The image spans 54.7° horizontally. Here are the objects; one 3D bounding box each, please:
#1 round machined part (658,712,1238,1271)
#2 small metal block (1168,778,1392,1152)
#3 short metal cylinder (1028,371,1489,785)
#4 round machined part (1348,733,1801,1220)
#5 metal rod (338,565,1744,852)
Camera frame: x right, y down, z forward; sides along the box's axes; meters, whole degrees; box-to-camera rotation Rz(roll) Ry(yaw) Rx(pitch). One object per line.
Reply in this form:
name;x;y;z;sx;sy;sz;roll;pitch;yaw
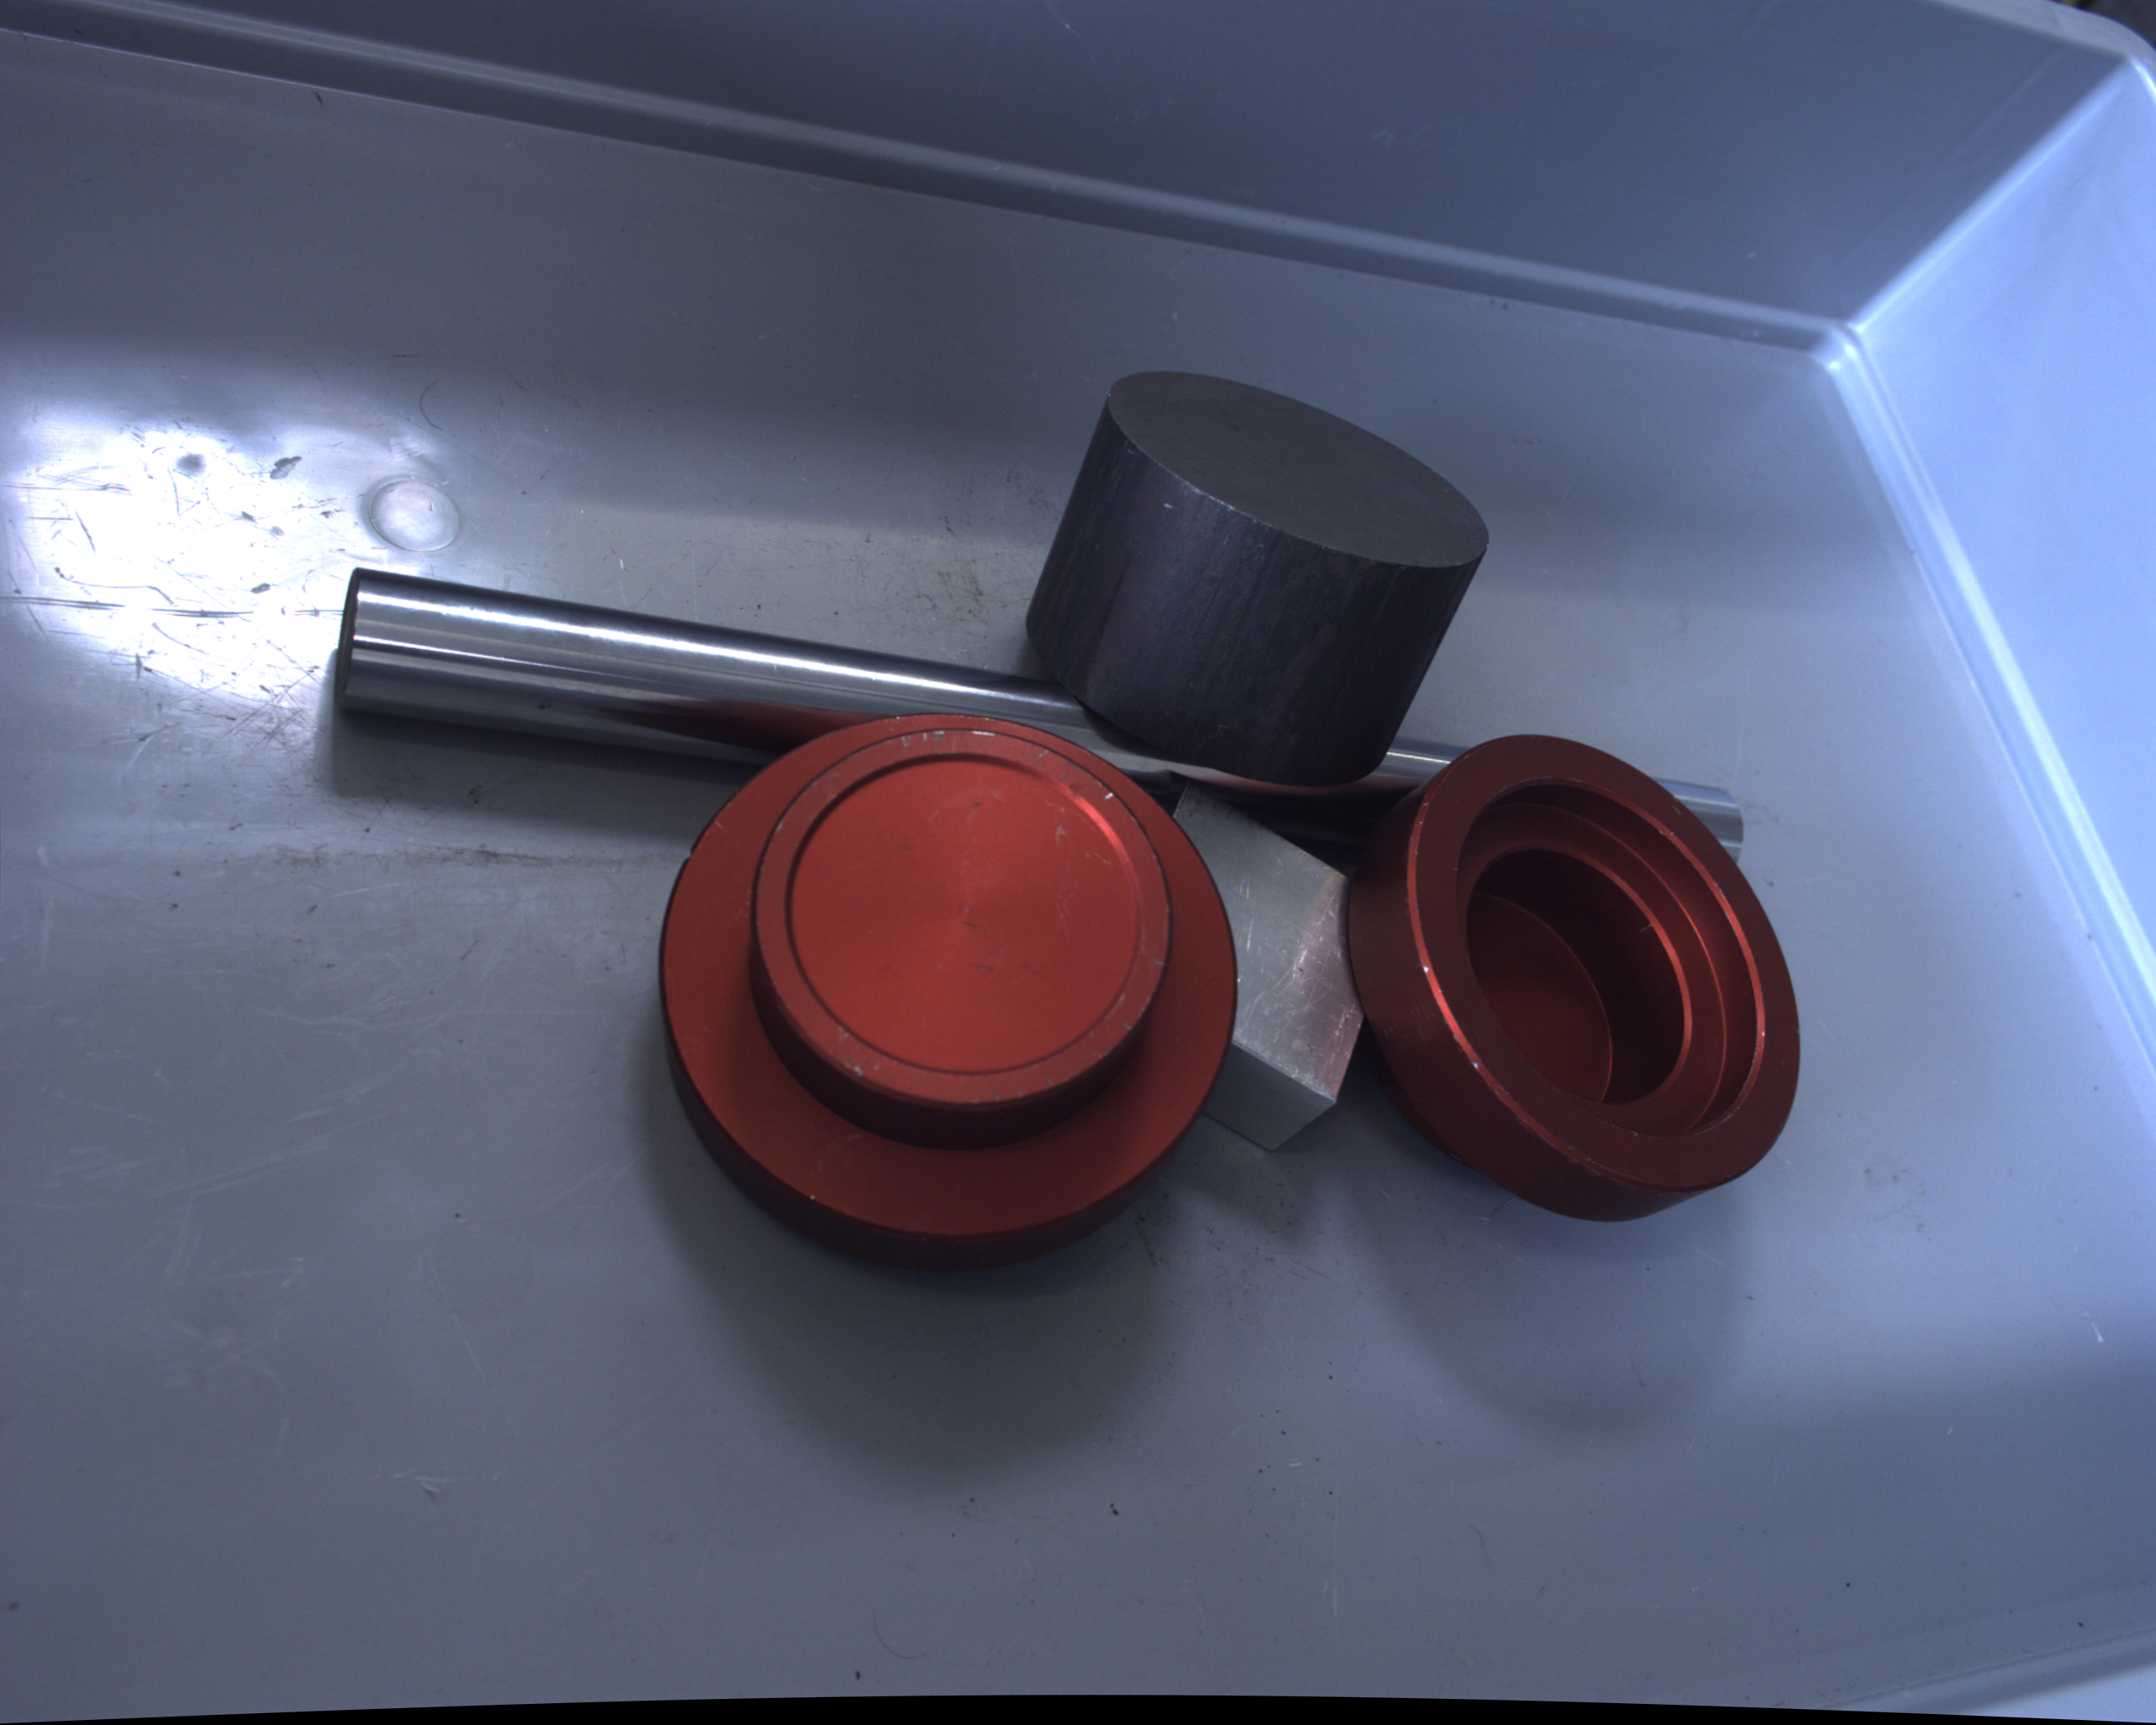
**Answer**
round machined part;-0.021;0.016;0.355;0.099;0.042;0.098;3;64;-7
small metal block;0.030;0.020;0.407;0.050;0.025;0.050;32;52;-8
short metal cylinder;0.036;-0.059;0.424;0.081;0.050;0.080;17;30;-10
round machined part;0.095;0.026;0.425;0.099;0.042;0.098;15;57;-24
metal rod;0.010;-0.022;0.423;0.302;0.025;0.025;7;59;-25
